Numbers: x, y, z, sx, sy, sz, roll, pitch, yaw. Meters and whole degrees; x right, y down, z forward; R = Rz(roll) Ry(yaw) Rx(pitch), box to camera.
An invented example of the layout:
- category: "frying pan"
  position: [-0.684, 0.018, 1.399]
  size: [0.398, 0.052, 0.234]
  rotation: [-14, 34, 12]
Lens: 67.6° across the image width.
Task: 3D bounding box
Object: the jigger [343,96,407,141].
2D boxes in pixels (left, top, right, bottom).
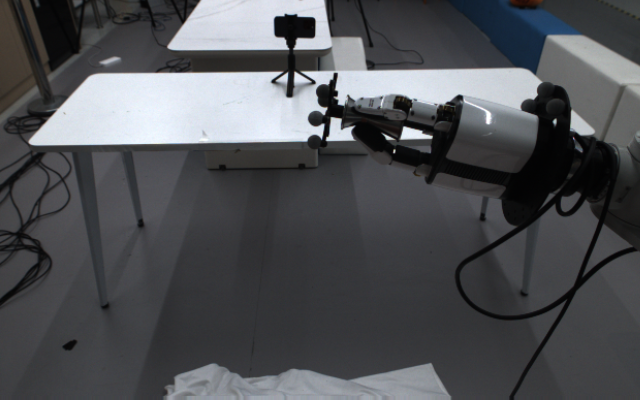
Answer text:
- category: "jigger"
  position: [0.068, -0.098, 0.554]
  size: [0.071, 0.043, 0.043]
  rotation: [11, 35, 3]
